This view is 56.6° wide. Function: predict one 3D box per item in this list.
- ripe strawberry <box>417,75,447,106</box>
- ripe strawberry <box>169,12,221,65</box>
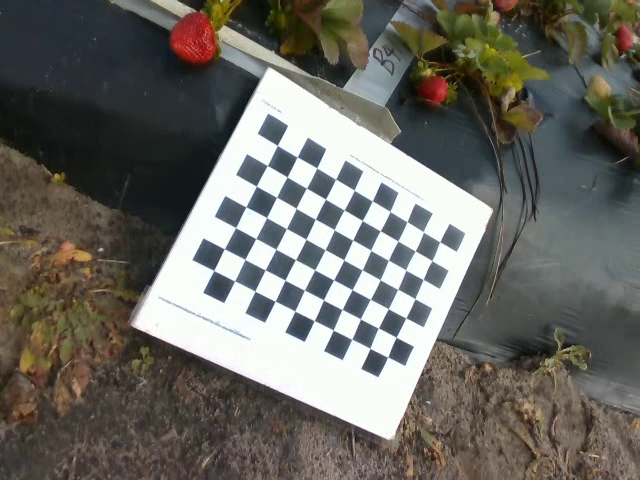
[{"bbox_3d":[0.123,-0.157,0.629,0.030,0.037,0.048,-41,15,22],"label":"ripe strawberry"},{"bbox_3d":[-0.109,-0.169,0.499,0.030,0.048,0.052,-13,13,46],"label":"ripe strawberry"}]
